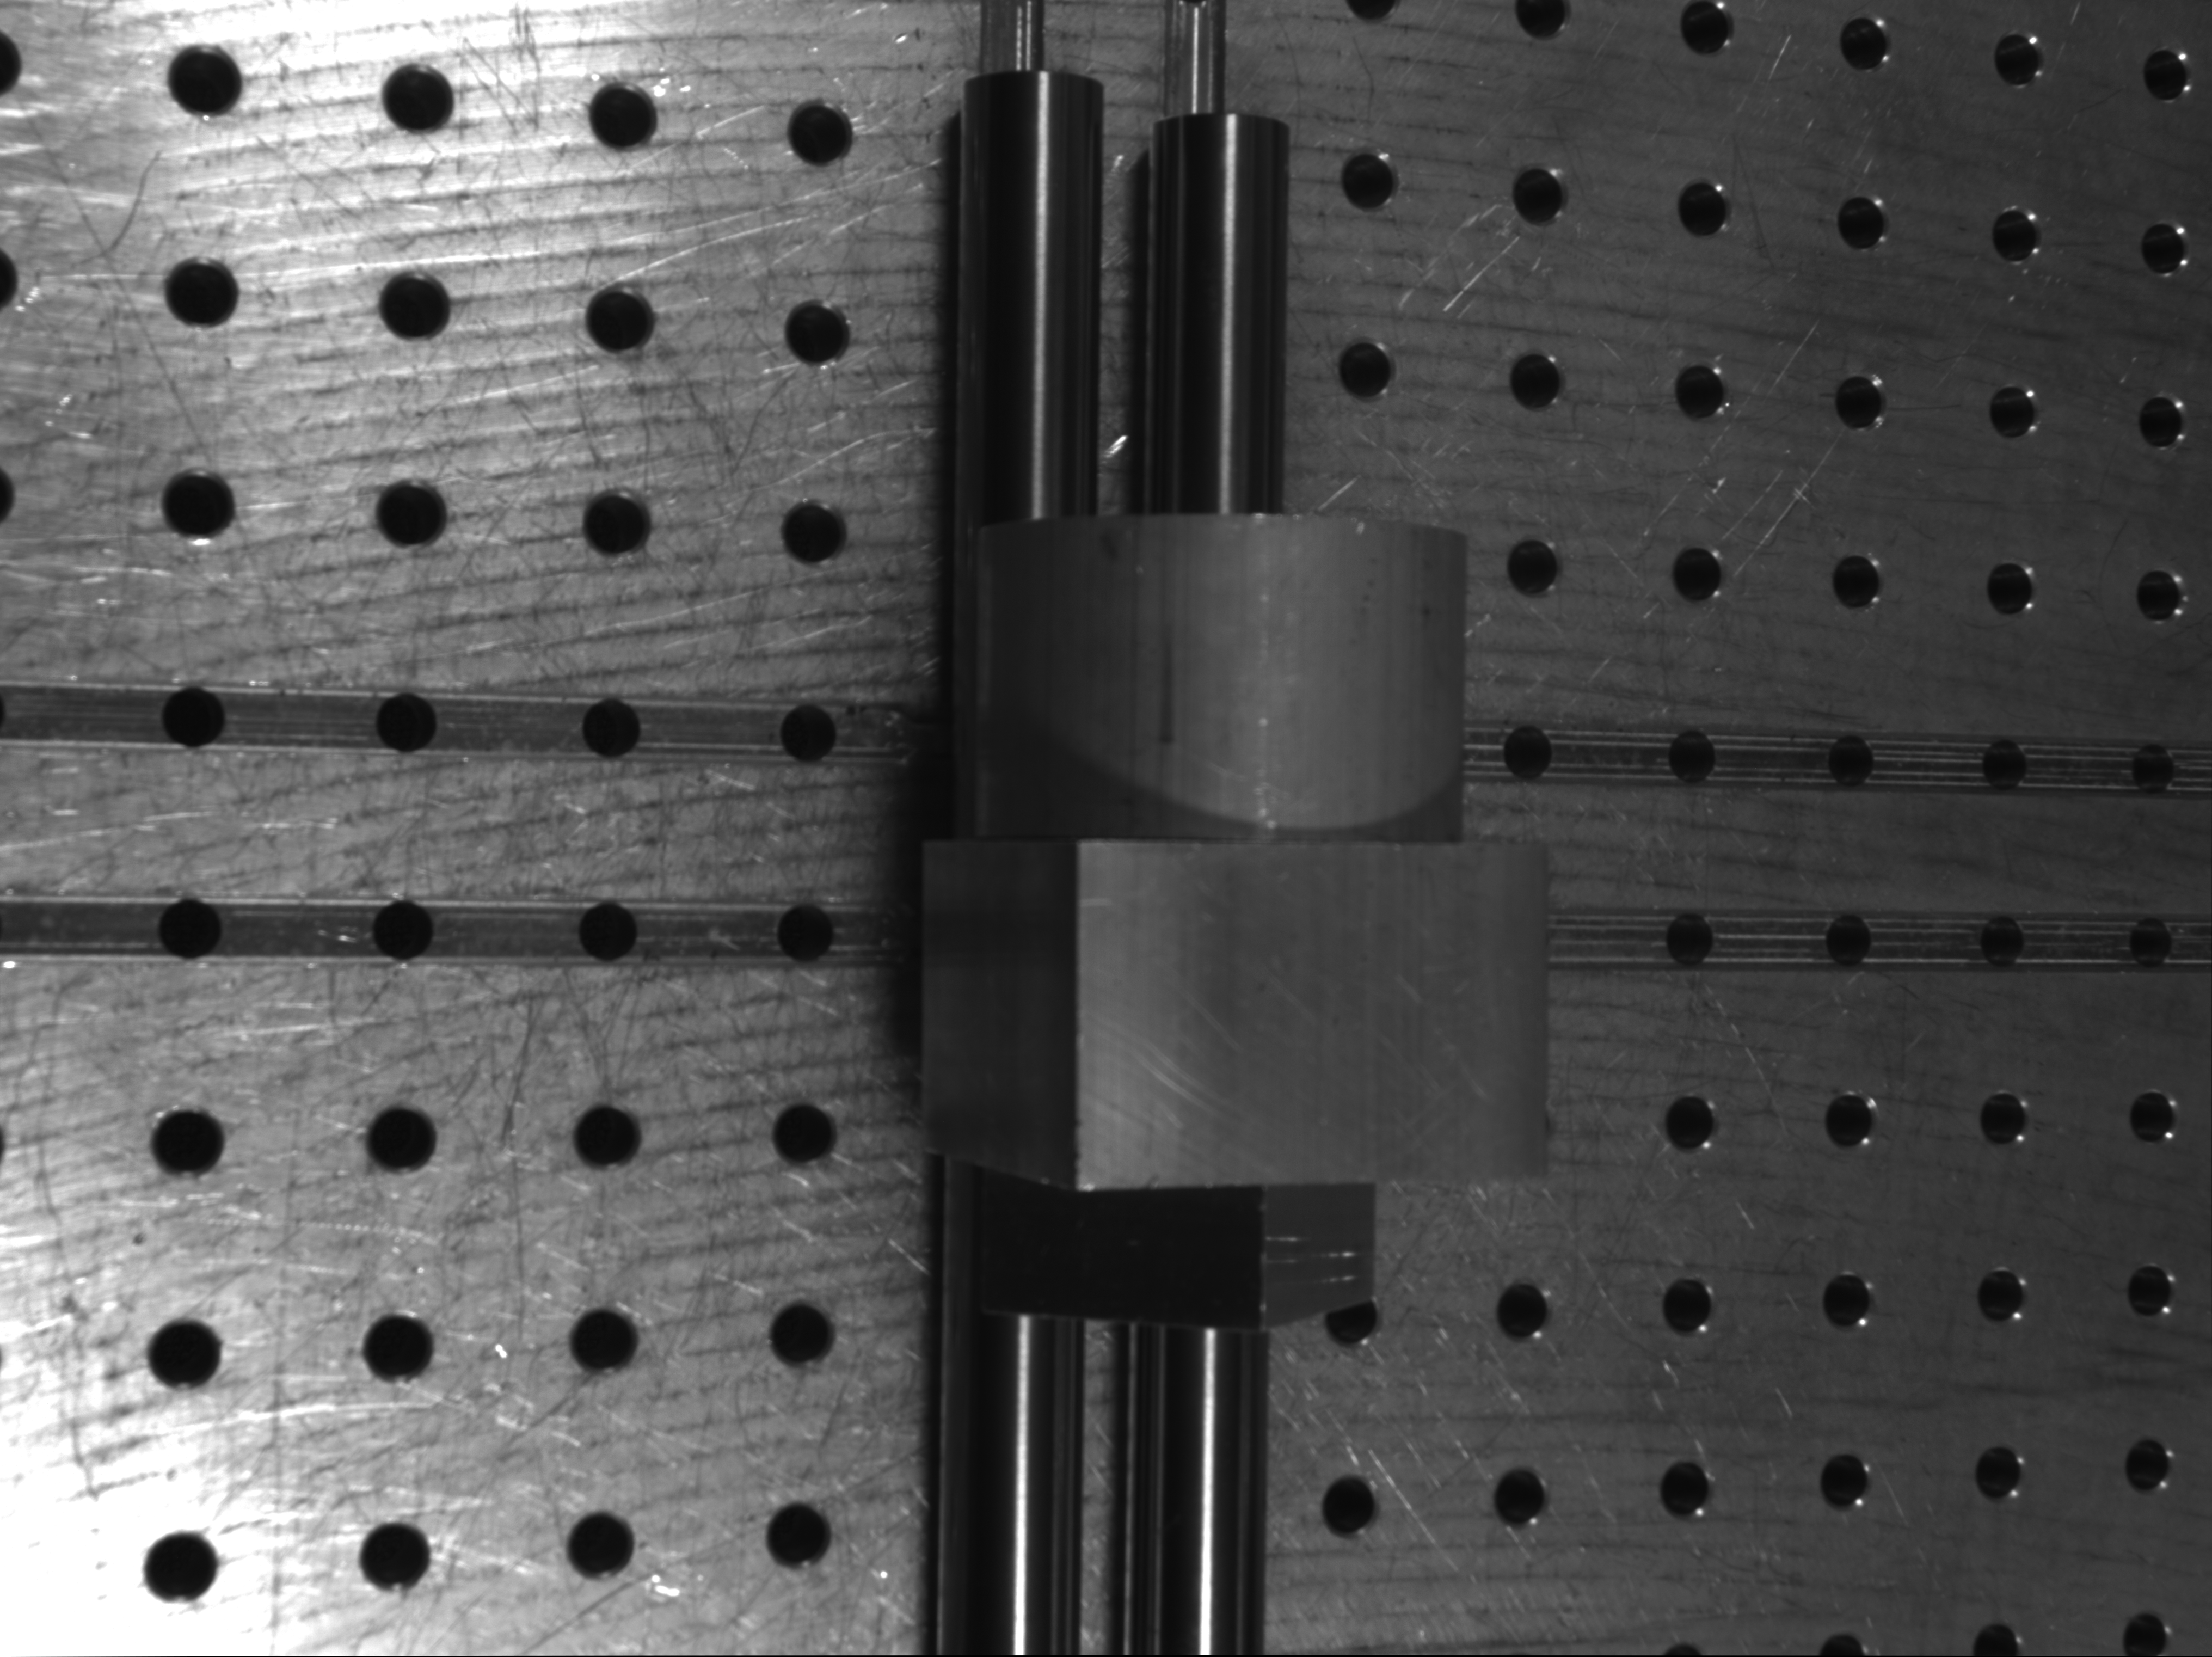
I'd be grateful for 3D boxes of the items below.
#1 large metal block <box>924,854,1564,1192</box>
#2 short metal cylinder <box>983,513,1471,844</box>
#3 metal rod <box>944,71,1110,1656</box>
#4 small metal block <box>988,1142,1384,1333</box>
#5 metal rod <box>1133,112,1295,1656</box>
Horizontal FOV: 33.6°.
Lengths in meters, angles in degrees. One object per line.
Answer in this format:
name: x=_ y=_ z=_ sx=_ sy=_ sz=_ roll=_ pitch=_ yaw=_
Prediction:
large metal block: x=0.020 y=0.030 z=0.598 sx=0.080 sy=0.080 sz=0.050 roll=1 pitch=90 yaw=-20
short metal cylinder: x=0.020 y=-0.023 z=0.601 sx=0.080 sy=0.080 sz=0.050 roll=1 pitch=90 yaw=-20
metal rod: x=-0.014 y=0.020 z=0.642 sx=0.025 sy=0.025 sz=0.300 roll=1 pitch=90 yaw=-20
small metal block: x=0.014 y=0.068 z=0.613 sx=0.050 sy=0.050 sz=0.025 roll=2 pitch=89 yaw=-65
metal rod: x=0.019 y=0.024 z=0.654 sx=0.025 sy=0.025 sz=0.300 roll=1 pitch=90 yaw=-20
